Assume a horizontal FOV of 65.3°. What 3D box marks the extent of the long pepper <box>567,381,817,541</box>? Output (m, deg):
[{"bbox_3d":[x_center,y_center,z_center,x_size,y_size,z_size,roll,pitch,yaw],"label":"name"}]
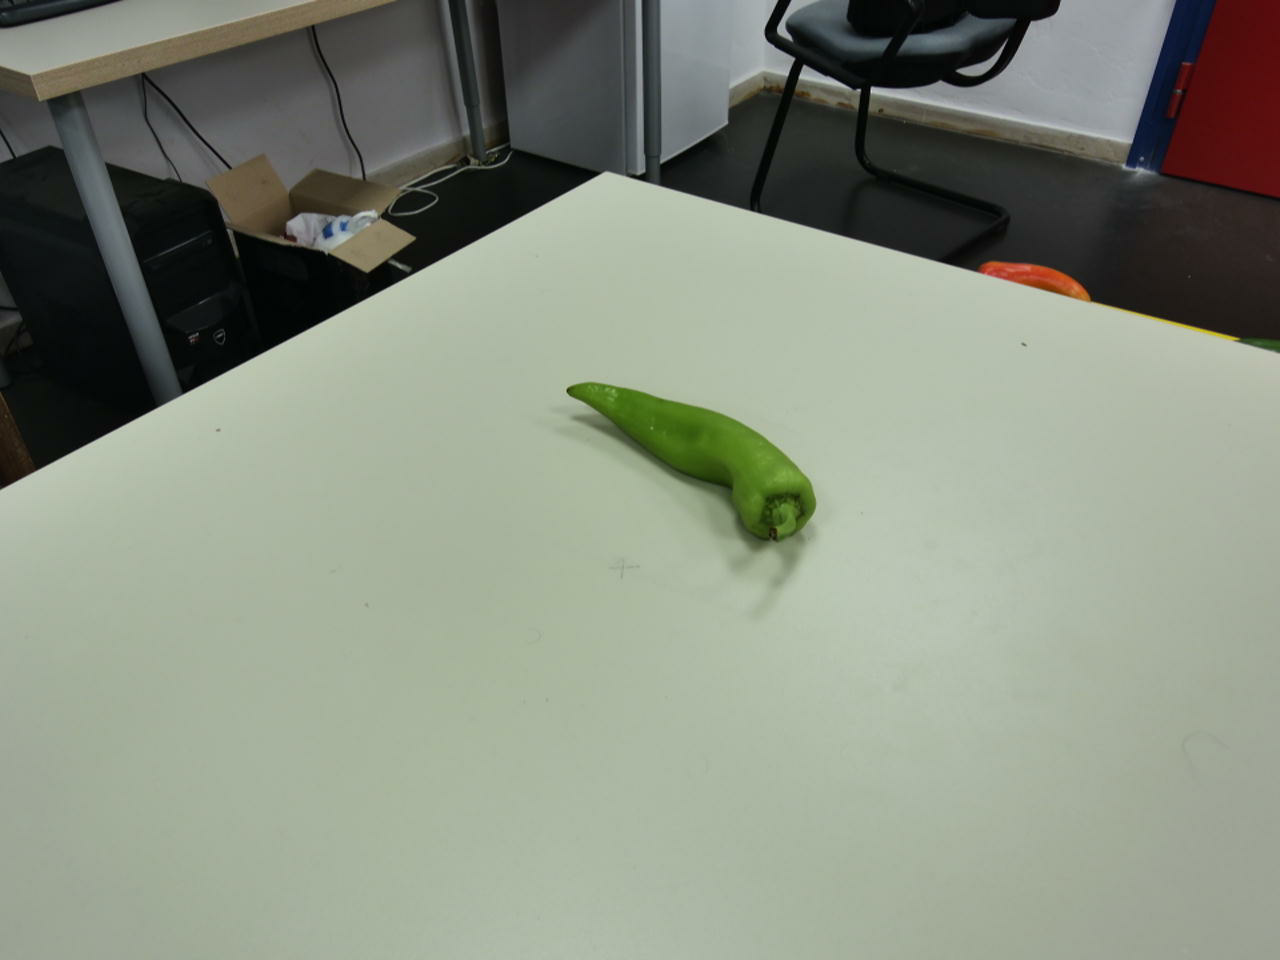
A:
[{"bbox_3d":[0.036,-0.022,0.619,0.065,0.045,0.204,-25,44,-28],"label":"long pepper"}]
